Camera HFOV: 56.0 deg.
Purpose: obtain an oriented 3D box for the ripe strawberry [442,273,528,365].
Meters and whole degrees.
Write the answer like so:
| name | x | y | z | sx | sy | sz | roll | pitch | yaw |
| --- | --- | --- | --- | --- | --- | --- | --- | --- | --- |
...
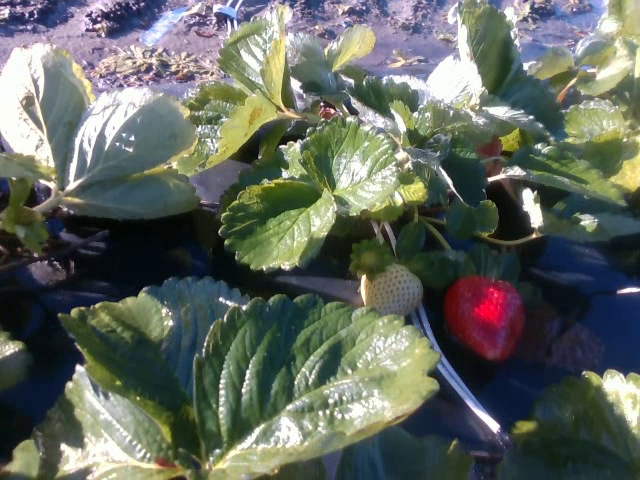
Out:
| name | x | y | z | sx | sy | sz | roll | pitch | yaw |
| --- | --- | --- | --- | --- | --- | --- | --- | --- | --- |
| ripe strawberry | 0.105 | 0.044 | 0.351 | 0.040 | 0.062 | 0.080 | -41 | 12 | 24 |
